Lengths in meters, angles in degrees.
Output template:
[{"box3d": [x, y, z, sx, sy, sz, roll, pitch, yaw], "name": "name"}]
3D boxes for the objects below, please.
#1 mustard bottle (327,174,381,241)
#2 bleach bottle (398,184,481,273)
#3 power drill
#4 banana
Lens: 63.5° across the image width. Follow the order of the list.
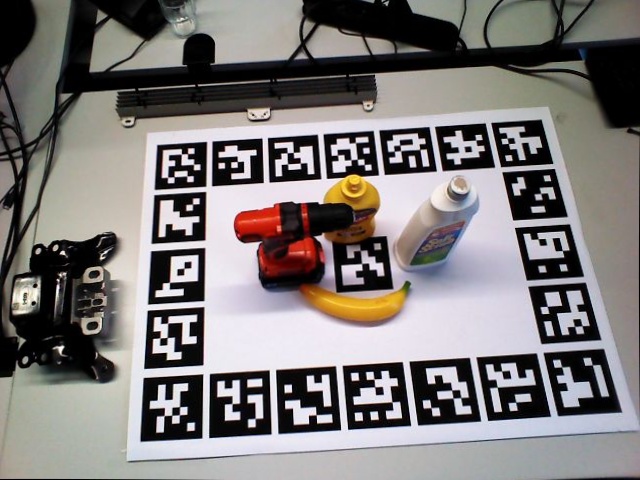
[{"box3d": [0.061, -0.057, 0.861, 0.096, 0.192, 0.058, -3, 68, -2], "name": "mustard bottle"}, {"box3d": [0.194, -0.019, 0.822, 0.103, 0.251, 0.067, -11, 70, -4], "name": "bleach bottle"}, {"box3d": [-0.038, -0.002, 0.821, 0.185, 0.188, 0.057, -5, 62, -4], "name": "power drill"}, {"box3d": [0.074, 0.102, 0.880, 0.198, 0.039, 0.074, -1, 73, 2], "name": "banana"}]
